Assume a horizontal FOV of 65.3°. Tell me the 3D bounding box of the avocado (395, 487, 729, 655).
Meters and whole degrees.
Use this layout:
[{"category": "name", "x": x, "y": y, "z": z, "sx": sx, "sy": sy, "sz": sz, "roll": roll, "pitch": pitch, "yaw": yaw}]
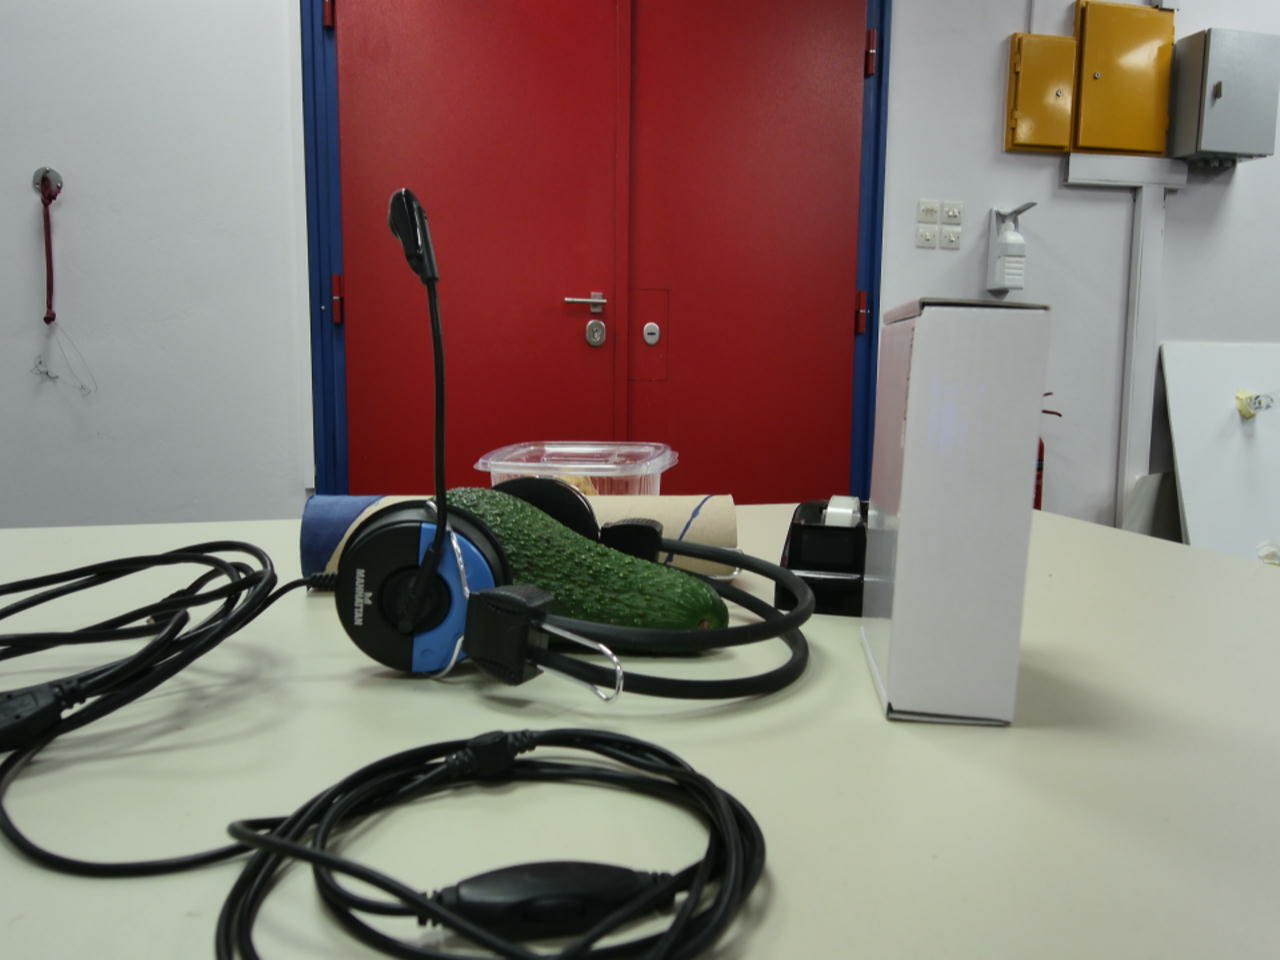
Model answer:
[{"category": "avocado", "x": -0.033, "y": 0.036, "z": 0.421, "sx": 0.141, "sy": 0.067, "sz": 0.063, "roll": 0, "pitch": 4, "yaw": 2}]
